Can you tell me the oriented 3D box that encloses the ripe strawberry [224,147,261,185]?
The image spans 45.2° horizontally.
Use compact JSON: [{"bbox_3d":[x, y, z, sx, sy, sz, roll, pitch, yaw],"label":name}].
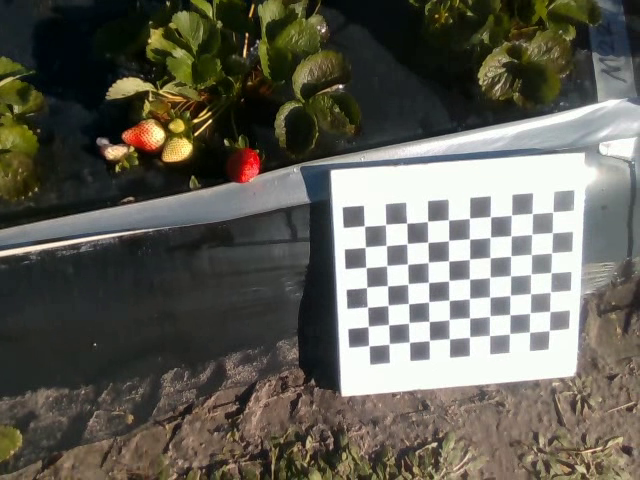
[{"bbox_3d":[-0.069,-0.063,0.675,0.036,0.038,0.046,-6,27,-2],"label":"ripe strawberry"}]
